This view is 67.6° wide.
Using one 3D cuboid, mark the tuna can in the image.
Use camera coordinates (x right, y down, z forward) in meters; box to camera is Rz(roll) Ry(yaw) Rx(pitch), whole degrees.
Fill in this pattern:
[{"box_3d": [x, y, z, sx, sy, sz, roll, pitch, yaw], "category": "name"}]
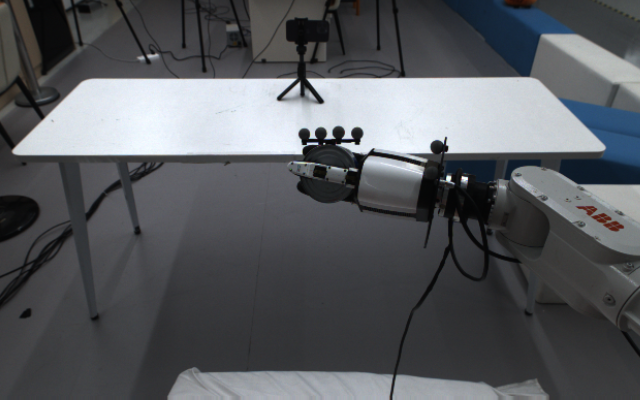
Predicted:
[{"box_3d": [0.016, -0.039, 0.714, 0.085, 0.085, 0.034, 12, 8, 14], "category": "tuna can"}]
